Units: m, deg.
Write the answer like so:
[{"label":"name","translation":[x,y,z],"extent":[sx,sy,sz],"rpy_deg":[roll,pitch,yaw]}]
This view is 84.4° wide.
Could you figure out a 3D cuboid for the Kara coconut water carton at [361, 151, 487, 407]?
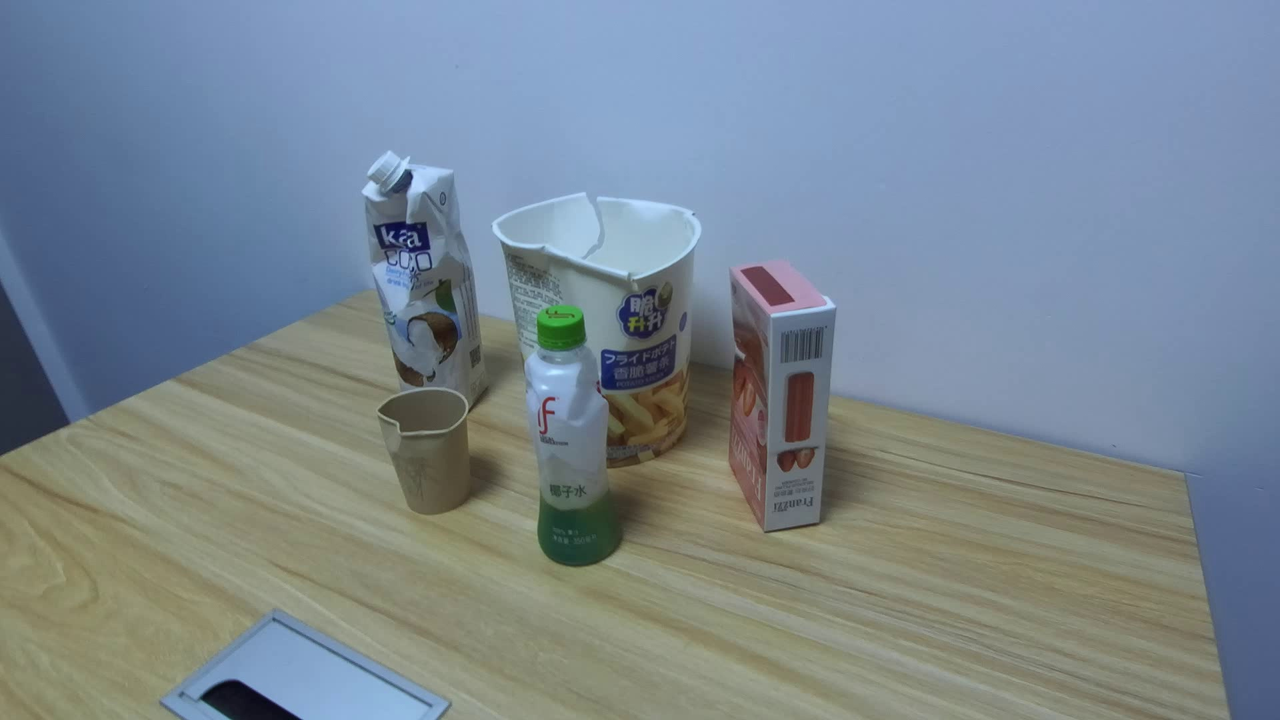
[{"label":"Kara coconut water carton","translation":[-0.206,-0.072,0.668],"extent":[0.083,0.256,0.078],"rpy_deg":[11,33,20]}]

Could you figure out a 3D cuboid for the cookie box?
[{"label":"cookie box","translation":[0.103,0.025,0.539],"extent":[0.049,0.188,0.105],"rpy_deg":[-7,29,-7]}]

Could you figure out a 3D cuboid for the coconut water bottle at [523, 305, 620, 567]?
[{"label":"coconut water bottle","translation":[-0.047,0.054,0.494],"extent":[0.069,0.186,0.069],"rpy_deg":[-1,31,1]}]

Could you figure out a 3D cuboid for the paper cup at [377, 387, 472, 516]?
[{"label":"paper cup","translation":[-0.172,0.075,0.578],"extent":[0.073,0.081,0.068],"rpy_deg":[-5,28,-7]}]

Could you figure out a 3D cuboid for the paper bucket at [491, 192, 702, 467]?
[{"label":"paper bucket","translation":[-0.033,-0.029,0.633],"extent":[0.202,0.197,0.146],"rpy_deg":[20,35,34]}]
